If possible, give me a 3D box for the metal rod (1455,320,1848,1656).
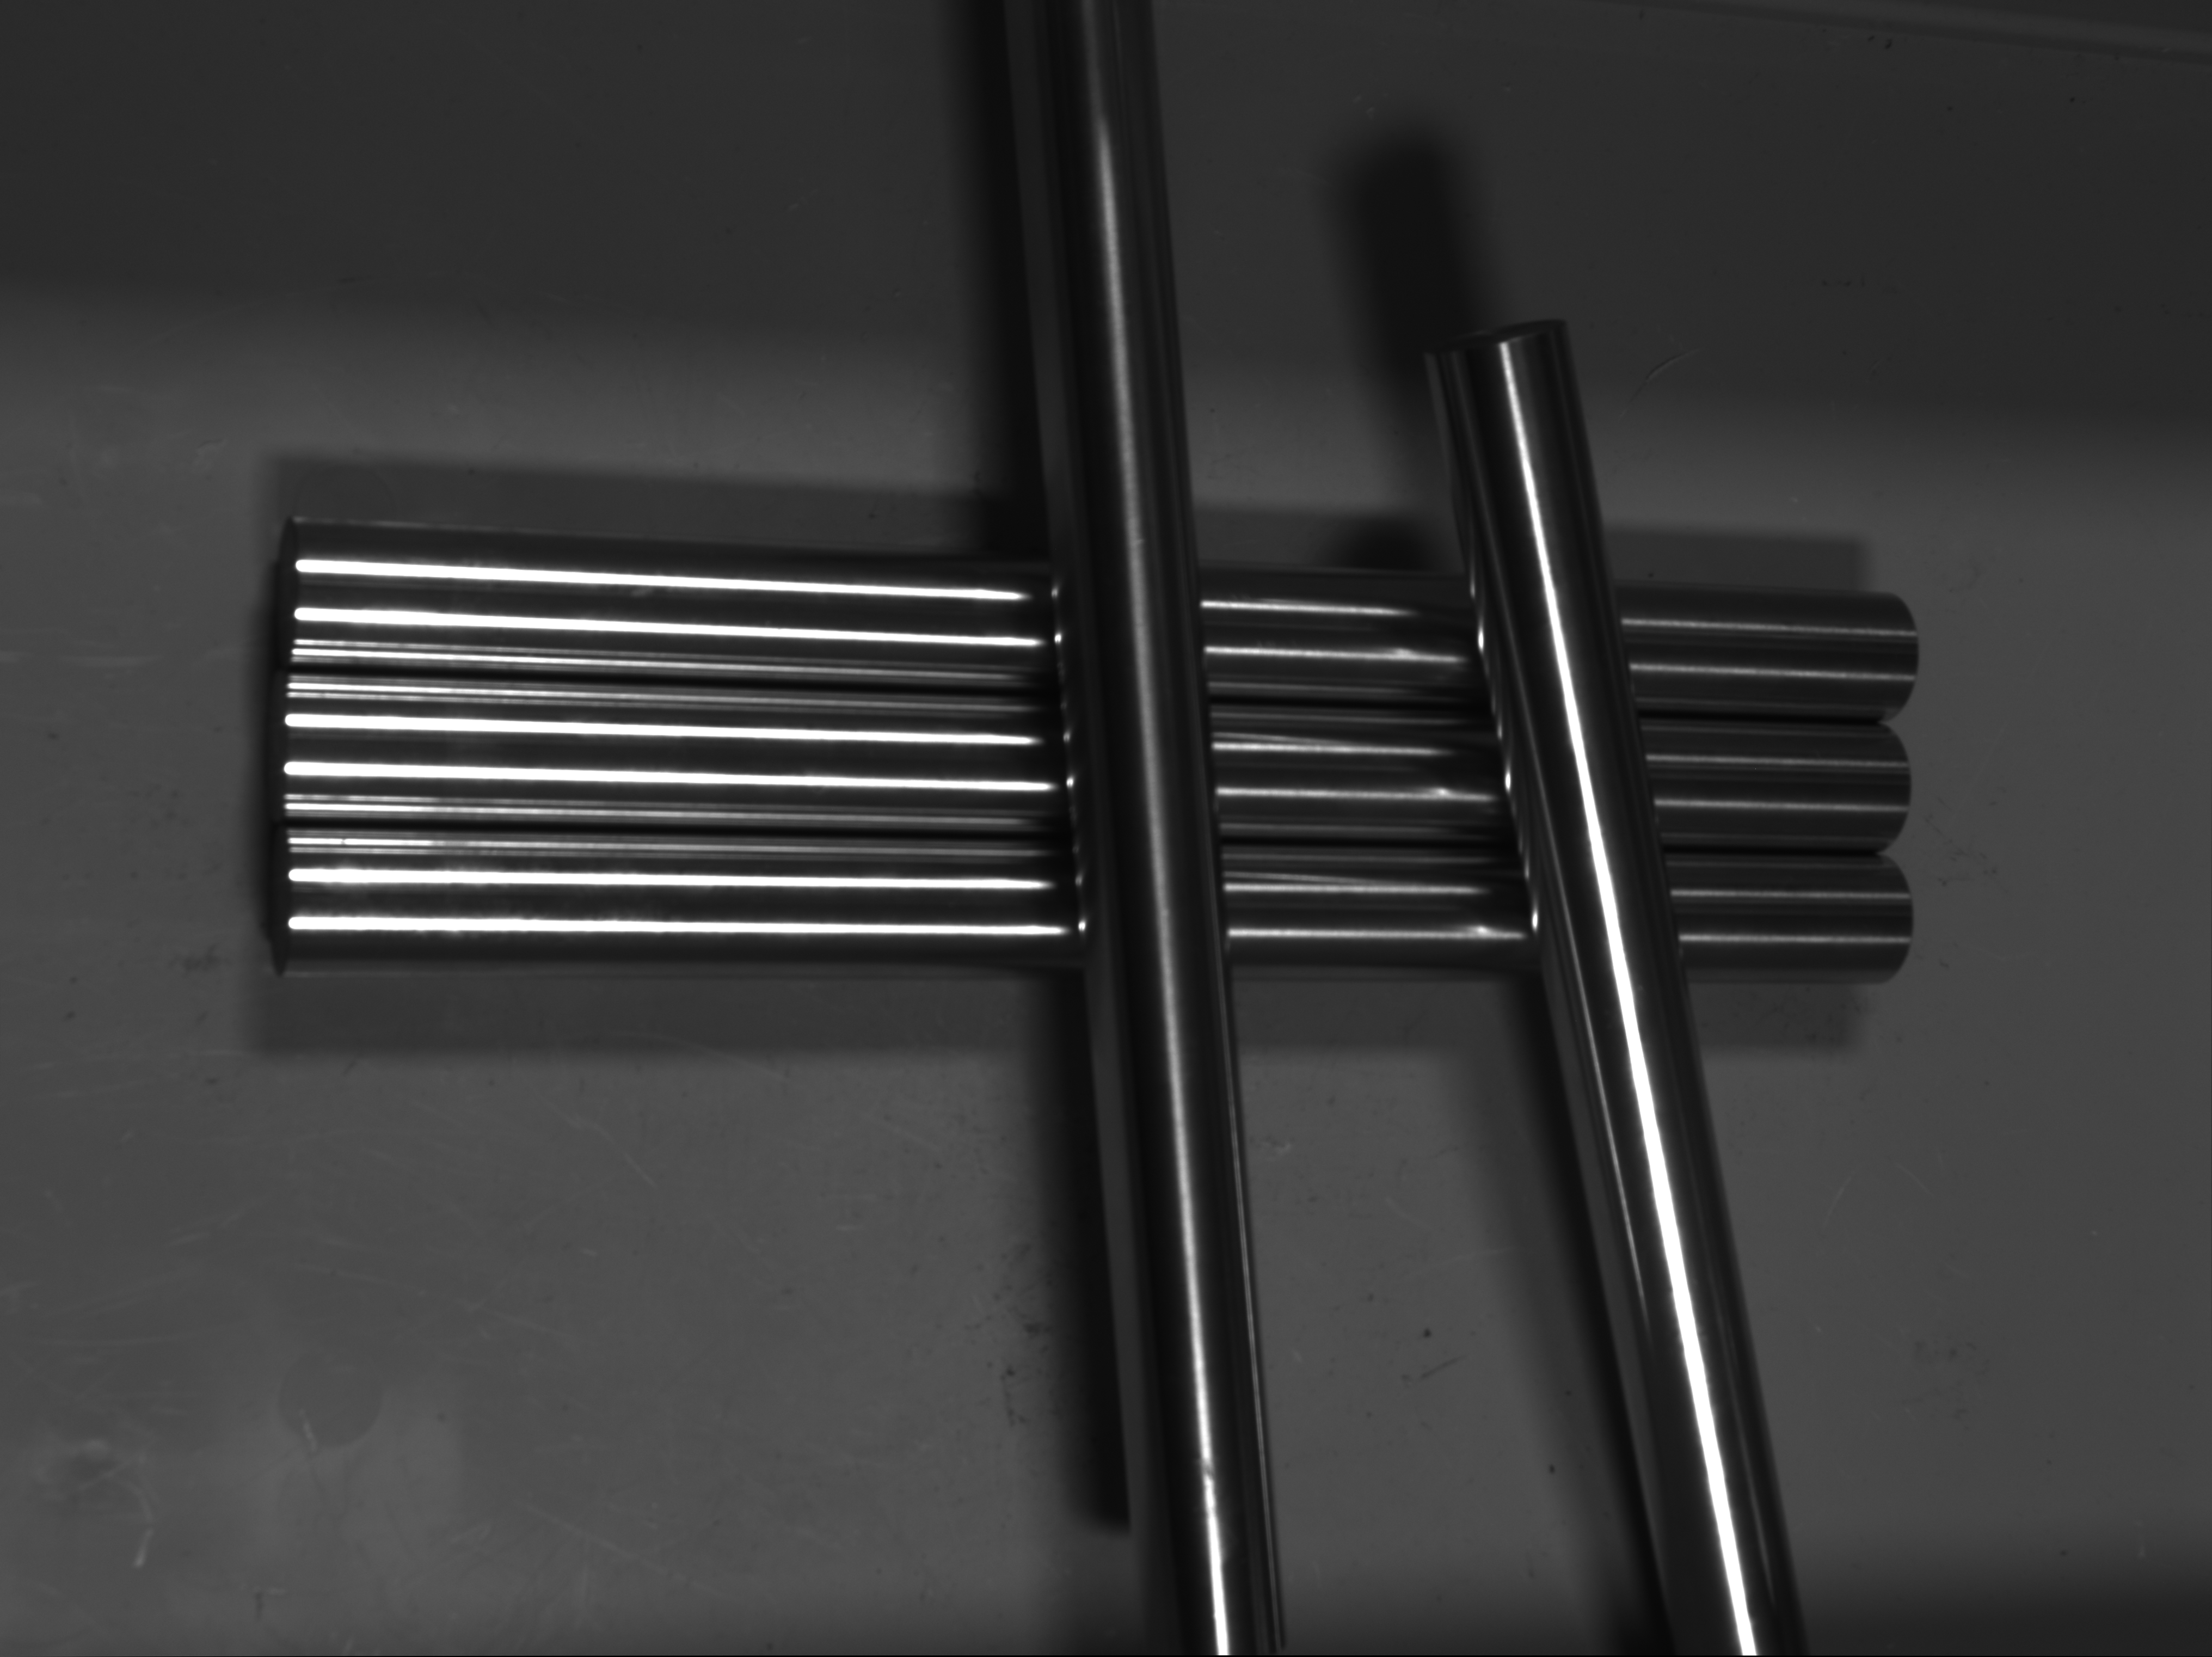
[{"bbox_3d":[0.104,0.059,0.659,0.025,0.025,0.300,-17,102,-19],"label":"metal rod"}]

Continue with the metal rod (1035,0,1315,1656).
[{"bbox_3d":[0.011,-0.009,0.620,0.025,0.025,0.300,-5,92,-20],"label":"metal rod"}]

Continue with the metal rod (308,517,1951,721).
[{"bbox_3d":[0.013,-0.035,0.647,0.301,0.025,0.025,1,90,-20],"label":"metal rod"}]

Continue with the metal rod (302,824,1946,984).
[{"bbox_3d":[0.012,0.015,0.647,0.301,0.025,0.025,1,90,-20],"label":"metal rod"}]

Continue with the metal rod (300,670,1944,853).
[{"bbox_3d":[0.012,-0.011,0.647,0.301,0.025,0.025,1,90,-20],"label":"metal rod"}]
